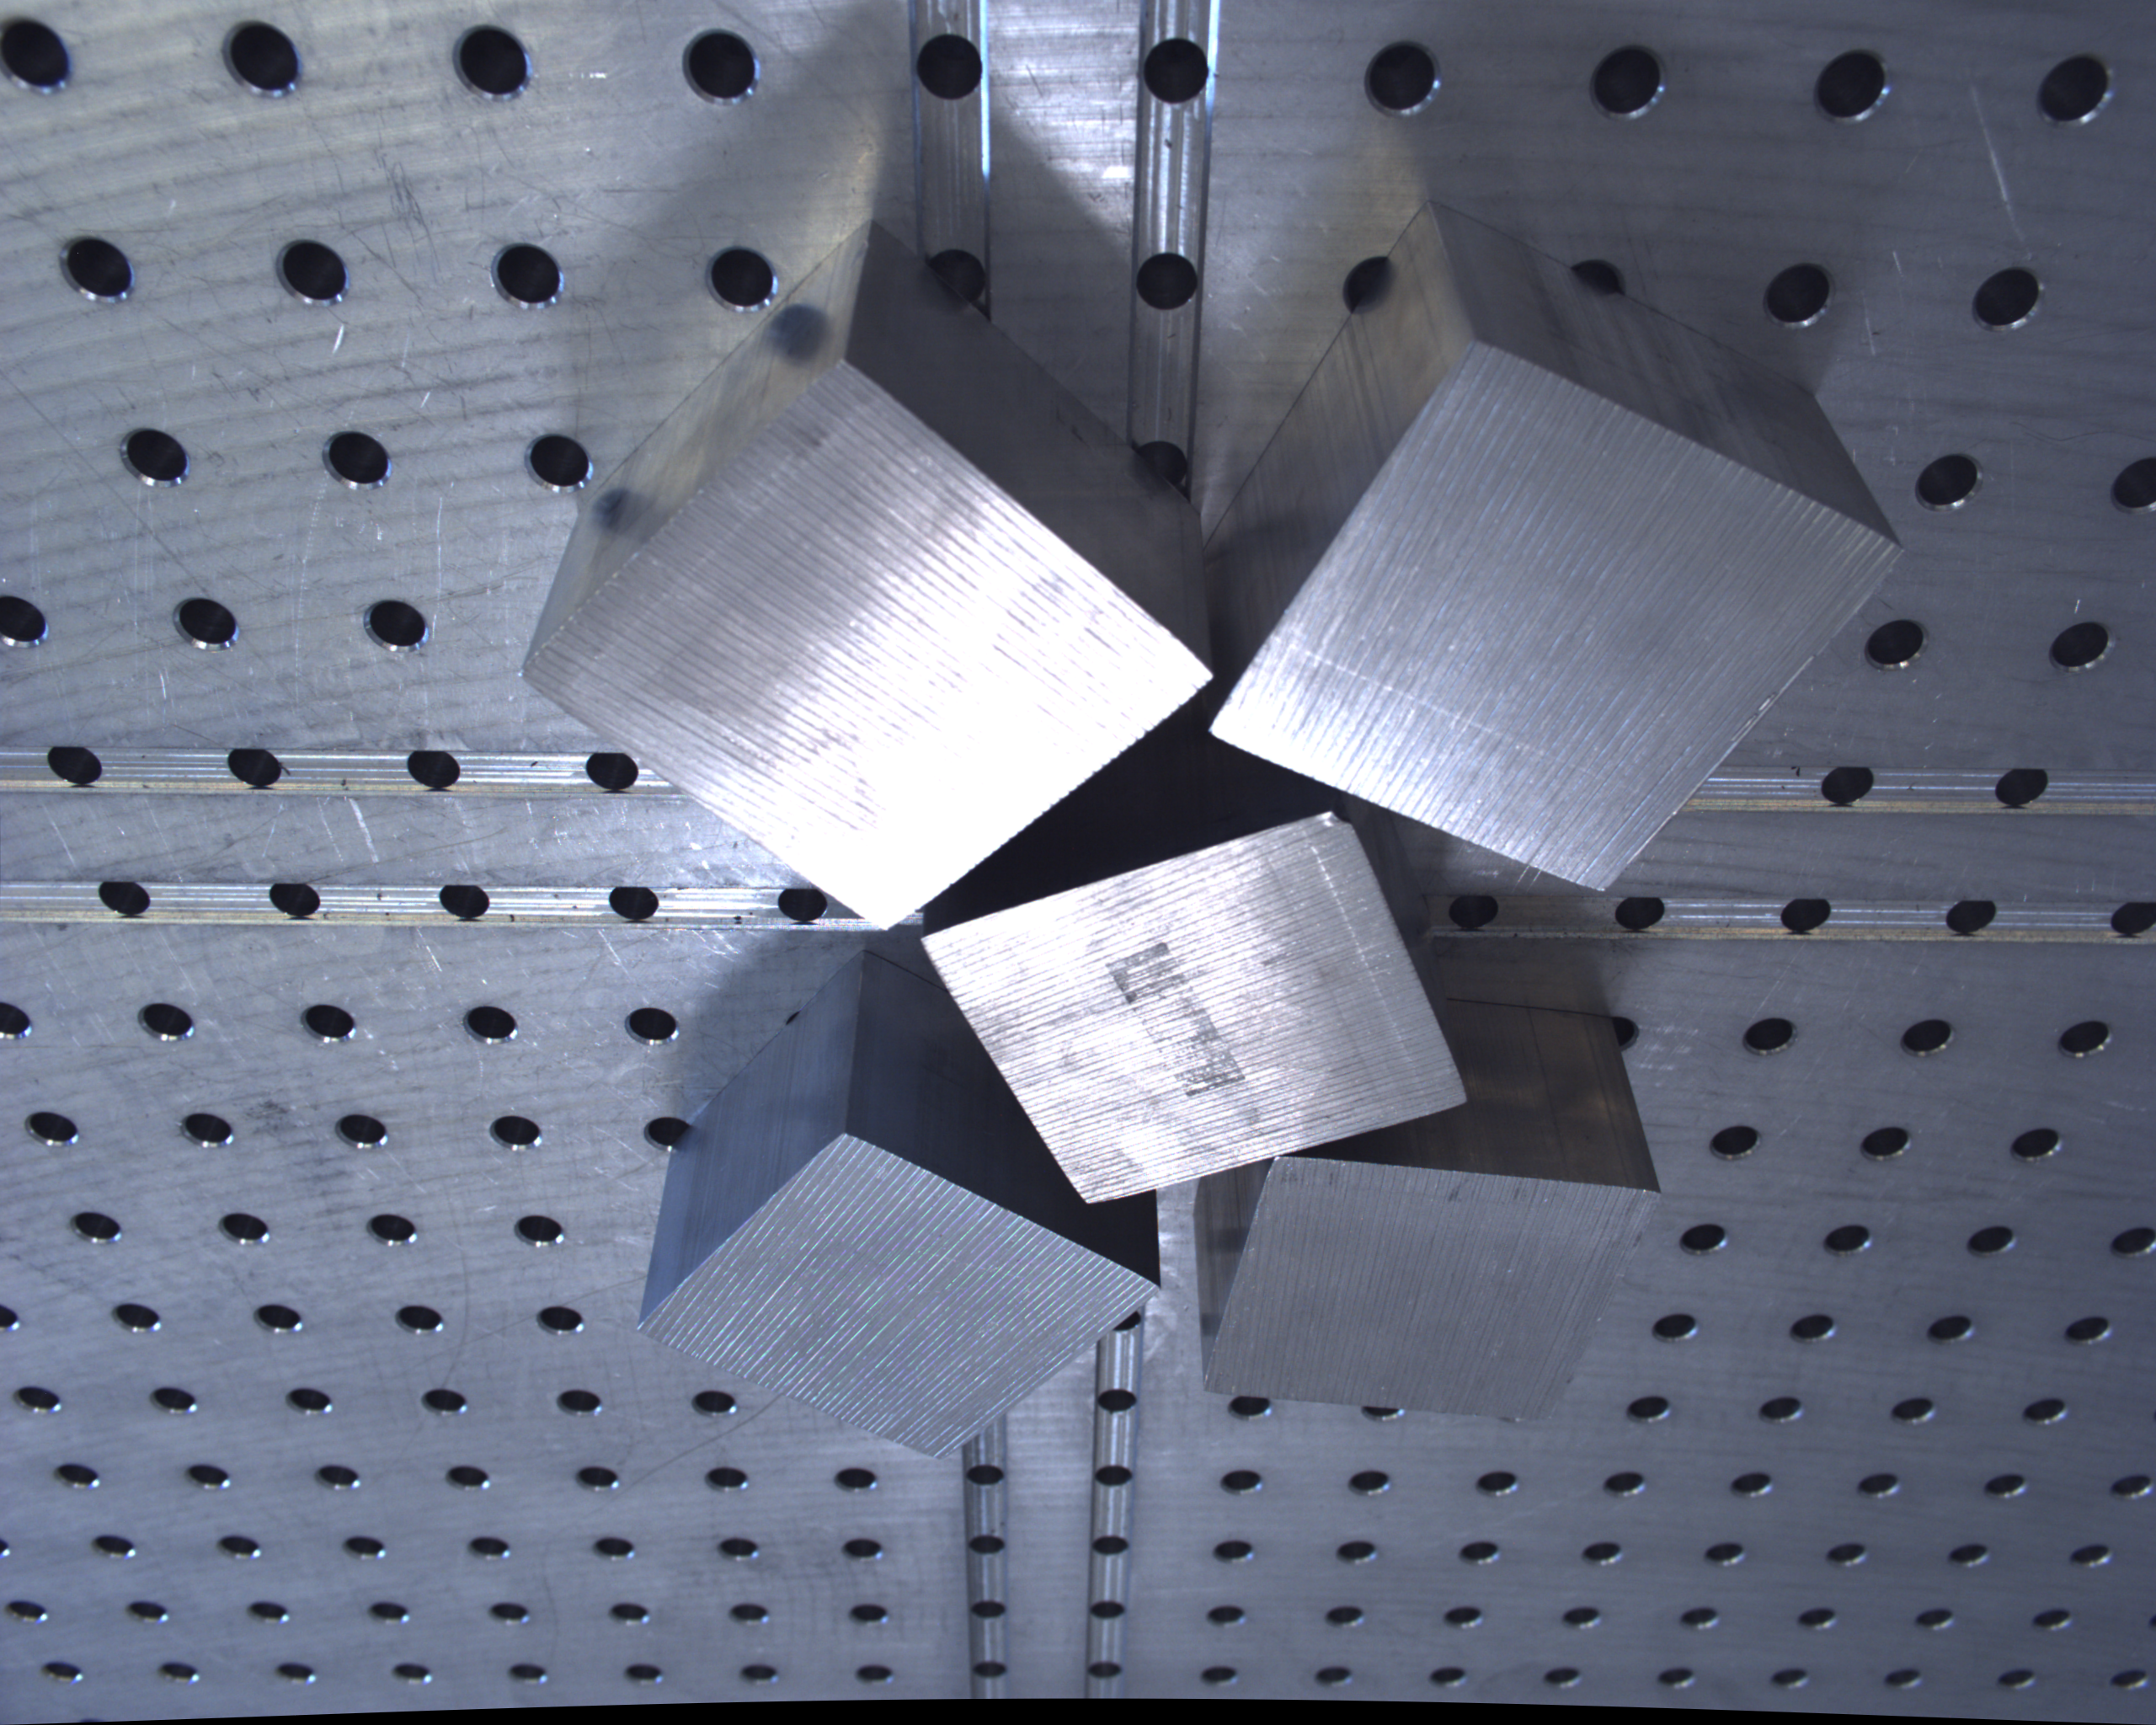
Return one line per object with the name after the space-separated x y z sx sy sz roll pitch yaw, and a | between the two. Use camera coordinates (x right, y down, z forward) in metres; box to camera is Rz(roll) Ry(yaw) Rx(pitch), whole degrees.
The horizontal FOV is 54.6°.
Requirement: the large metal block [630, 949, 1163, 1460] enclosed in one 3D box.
-0.039 0.077 0.458 0.080 0.050 0.080 31 123 -23 | large metal block

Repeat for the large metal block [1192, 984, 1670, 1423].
0.073 0.076 0.460 0.080 0.050 0.079 6 130 -6 | large metal block

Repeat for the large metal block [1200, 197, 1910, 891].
0.074 -0.051 0.351 0.080 0.050 0.080 18 128 -19 | large metal block

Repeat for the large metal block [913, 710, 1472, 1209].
0.023 0.014 0.406 0.080 0.050 0.080 -18 128 14 | large metal block

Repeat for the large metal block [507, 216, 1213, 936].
-0.035 -0.046 0.355 0.080 0.050 0.080 -36 121 27 | large metal block
